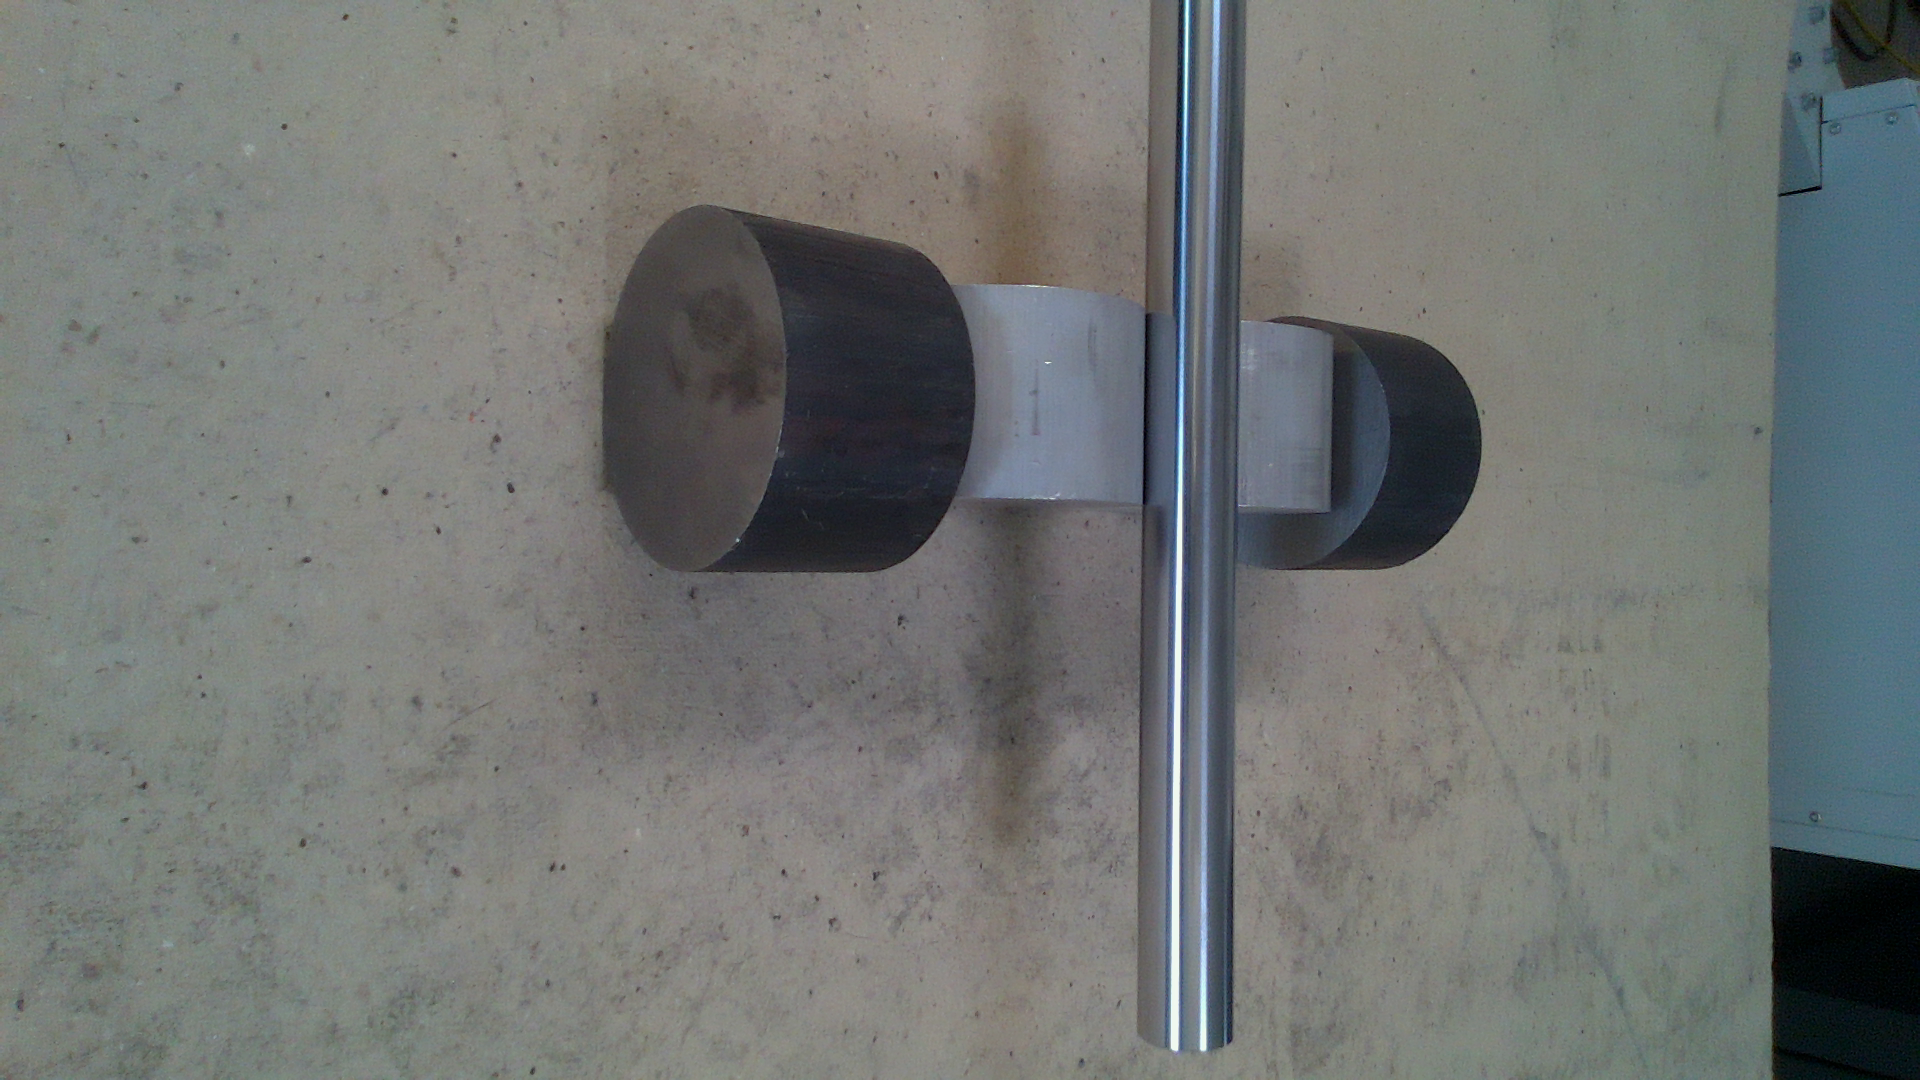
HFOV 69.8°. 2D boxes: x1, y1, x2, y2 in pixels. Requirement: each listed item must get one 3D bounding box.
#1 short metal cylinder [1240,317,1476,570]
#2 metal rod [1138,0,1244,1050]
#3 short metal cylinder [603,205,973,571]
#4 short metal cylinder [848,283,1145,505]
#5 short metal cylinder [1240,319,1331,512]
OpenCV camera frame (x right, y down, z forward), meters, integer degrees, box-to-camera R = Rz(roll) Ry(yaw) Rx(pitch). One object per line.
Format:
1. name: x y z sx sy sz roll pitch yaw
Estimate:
1. short metal cylinder: 0.120 -0.030 0.453 0.050 0.080 0.080 1 89 -40
2. metal rod: 0.061 -0.022 0.360 0.025 0.025 0.300 1 89 -40
3. short metal cylinder: -0.042 -0.033 0.319 0.050 0.080 0.080 1 89 -40
4. short metal cylinder: 0.008 -0.035 0.360 0.080 0.080 0.050 1 89 -40
5. short metal cylinder: 0.070 -0.034 0.411 0.080 0.080 0.050 1 89 -40
